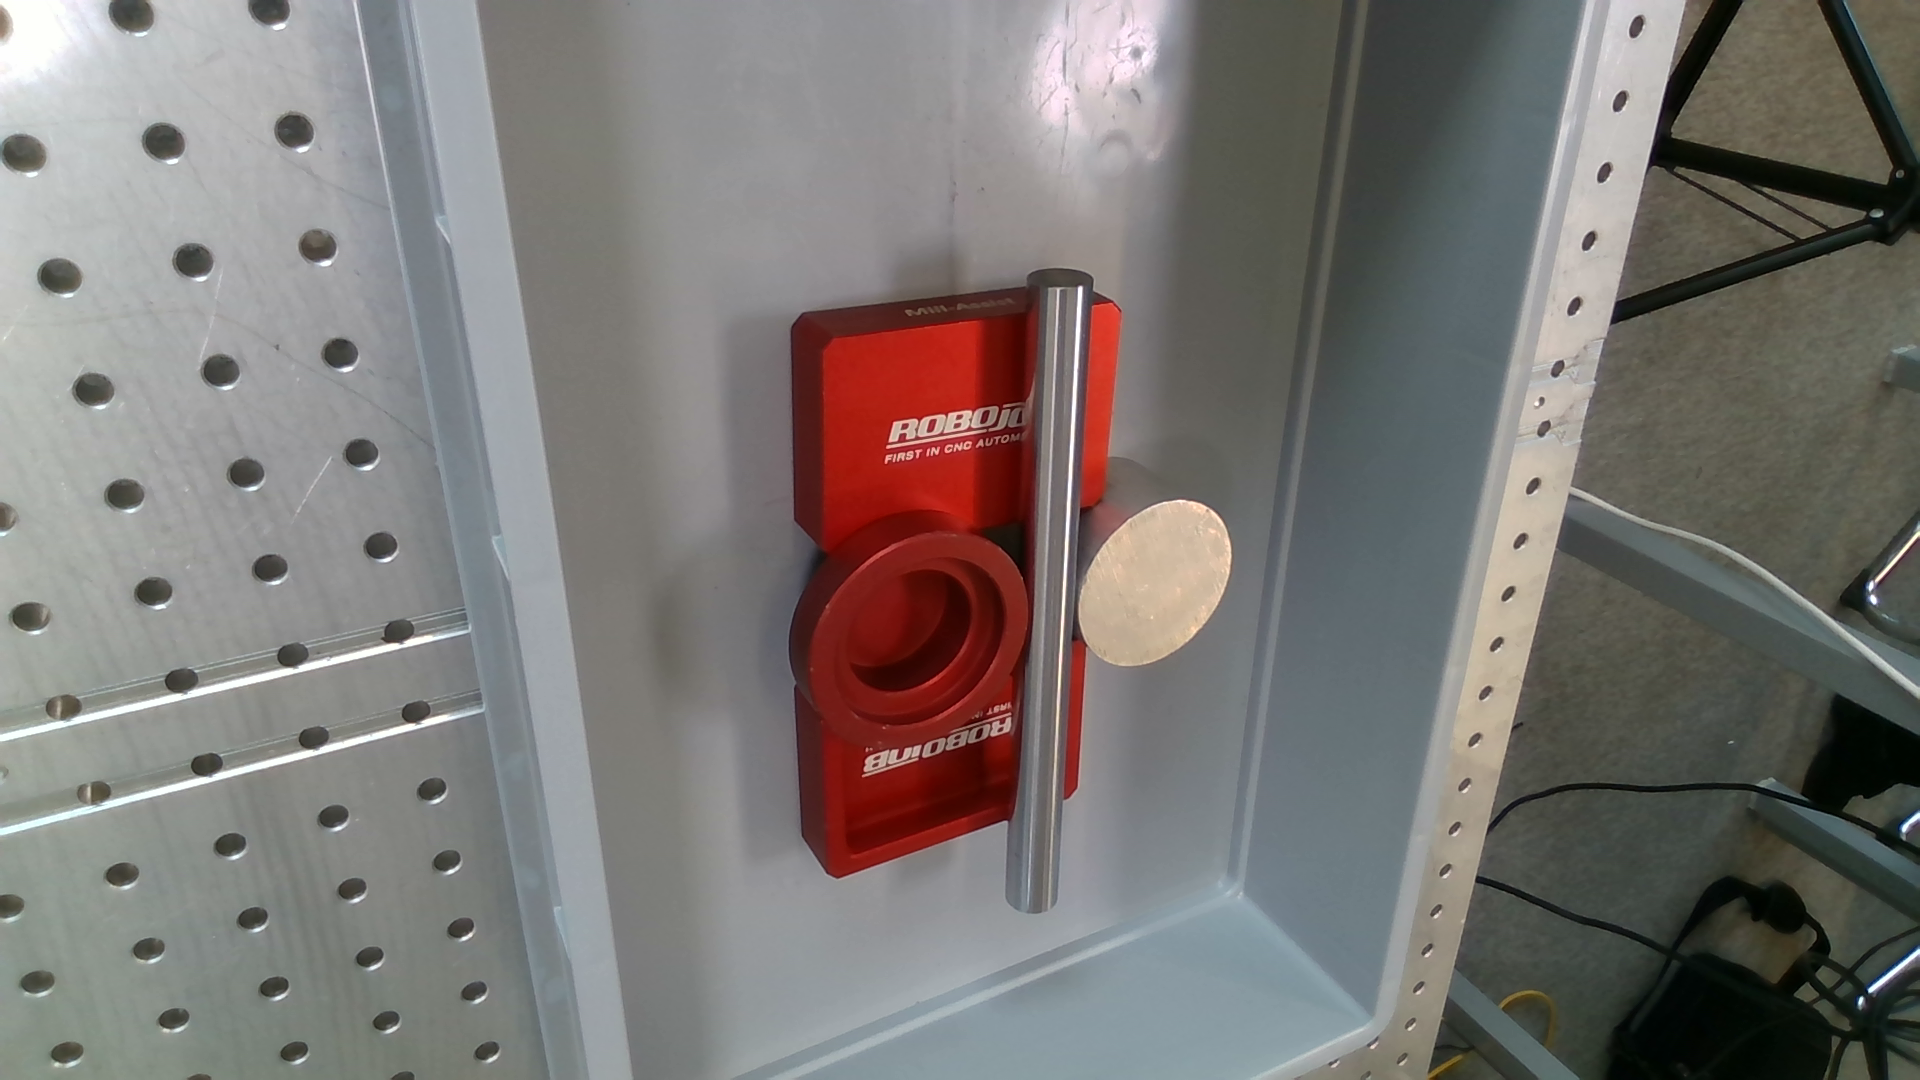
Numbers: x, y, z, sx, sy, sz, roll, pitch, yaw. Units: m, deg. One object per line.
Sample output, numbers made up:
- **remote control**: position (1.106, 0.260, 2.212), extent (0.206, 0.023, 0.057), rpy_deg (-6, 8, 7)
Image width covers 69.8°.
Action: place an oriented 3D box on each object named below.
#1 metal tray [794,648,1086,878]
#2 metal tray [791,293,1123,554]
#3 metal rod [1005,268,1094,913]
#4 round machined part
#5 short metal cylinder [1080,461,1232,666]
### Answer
- **metal tray**: position (-0.007, 0.090, 0.621), extent (0.130, 0.030, 0.090), rpy_deg (-14, 121, -25)
- **metal tray**: position (-0.001, -0.050, 0.548), extent (0.130, 0.030, 0.090), rpy_deg (-12, 120, -26)
- **metal rod**: position (0.035, 0.035, 0.581), extent (0.025, 0.025, 0.301), rpy_deg (-14, 121, -25)
- **round machined part**: position (-0.024, 0.032, 0.560), extent (0.098, 0.042, 0.098), rpy_deg (-14, 122, -25)
- **short metal cylinder**: position (0.073, 0.009, 0.613), extent (0.080, 0.050, 0.080), rpy_deg (-14, 122, -25)
